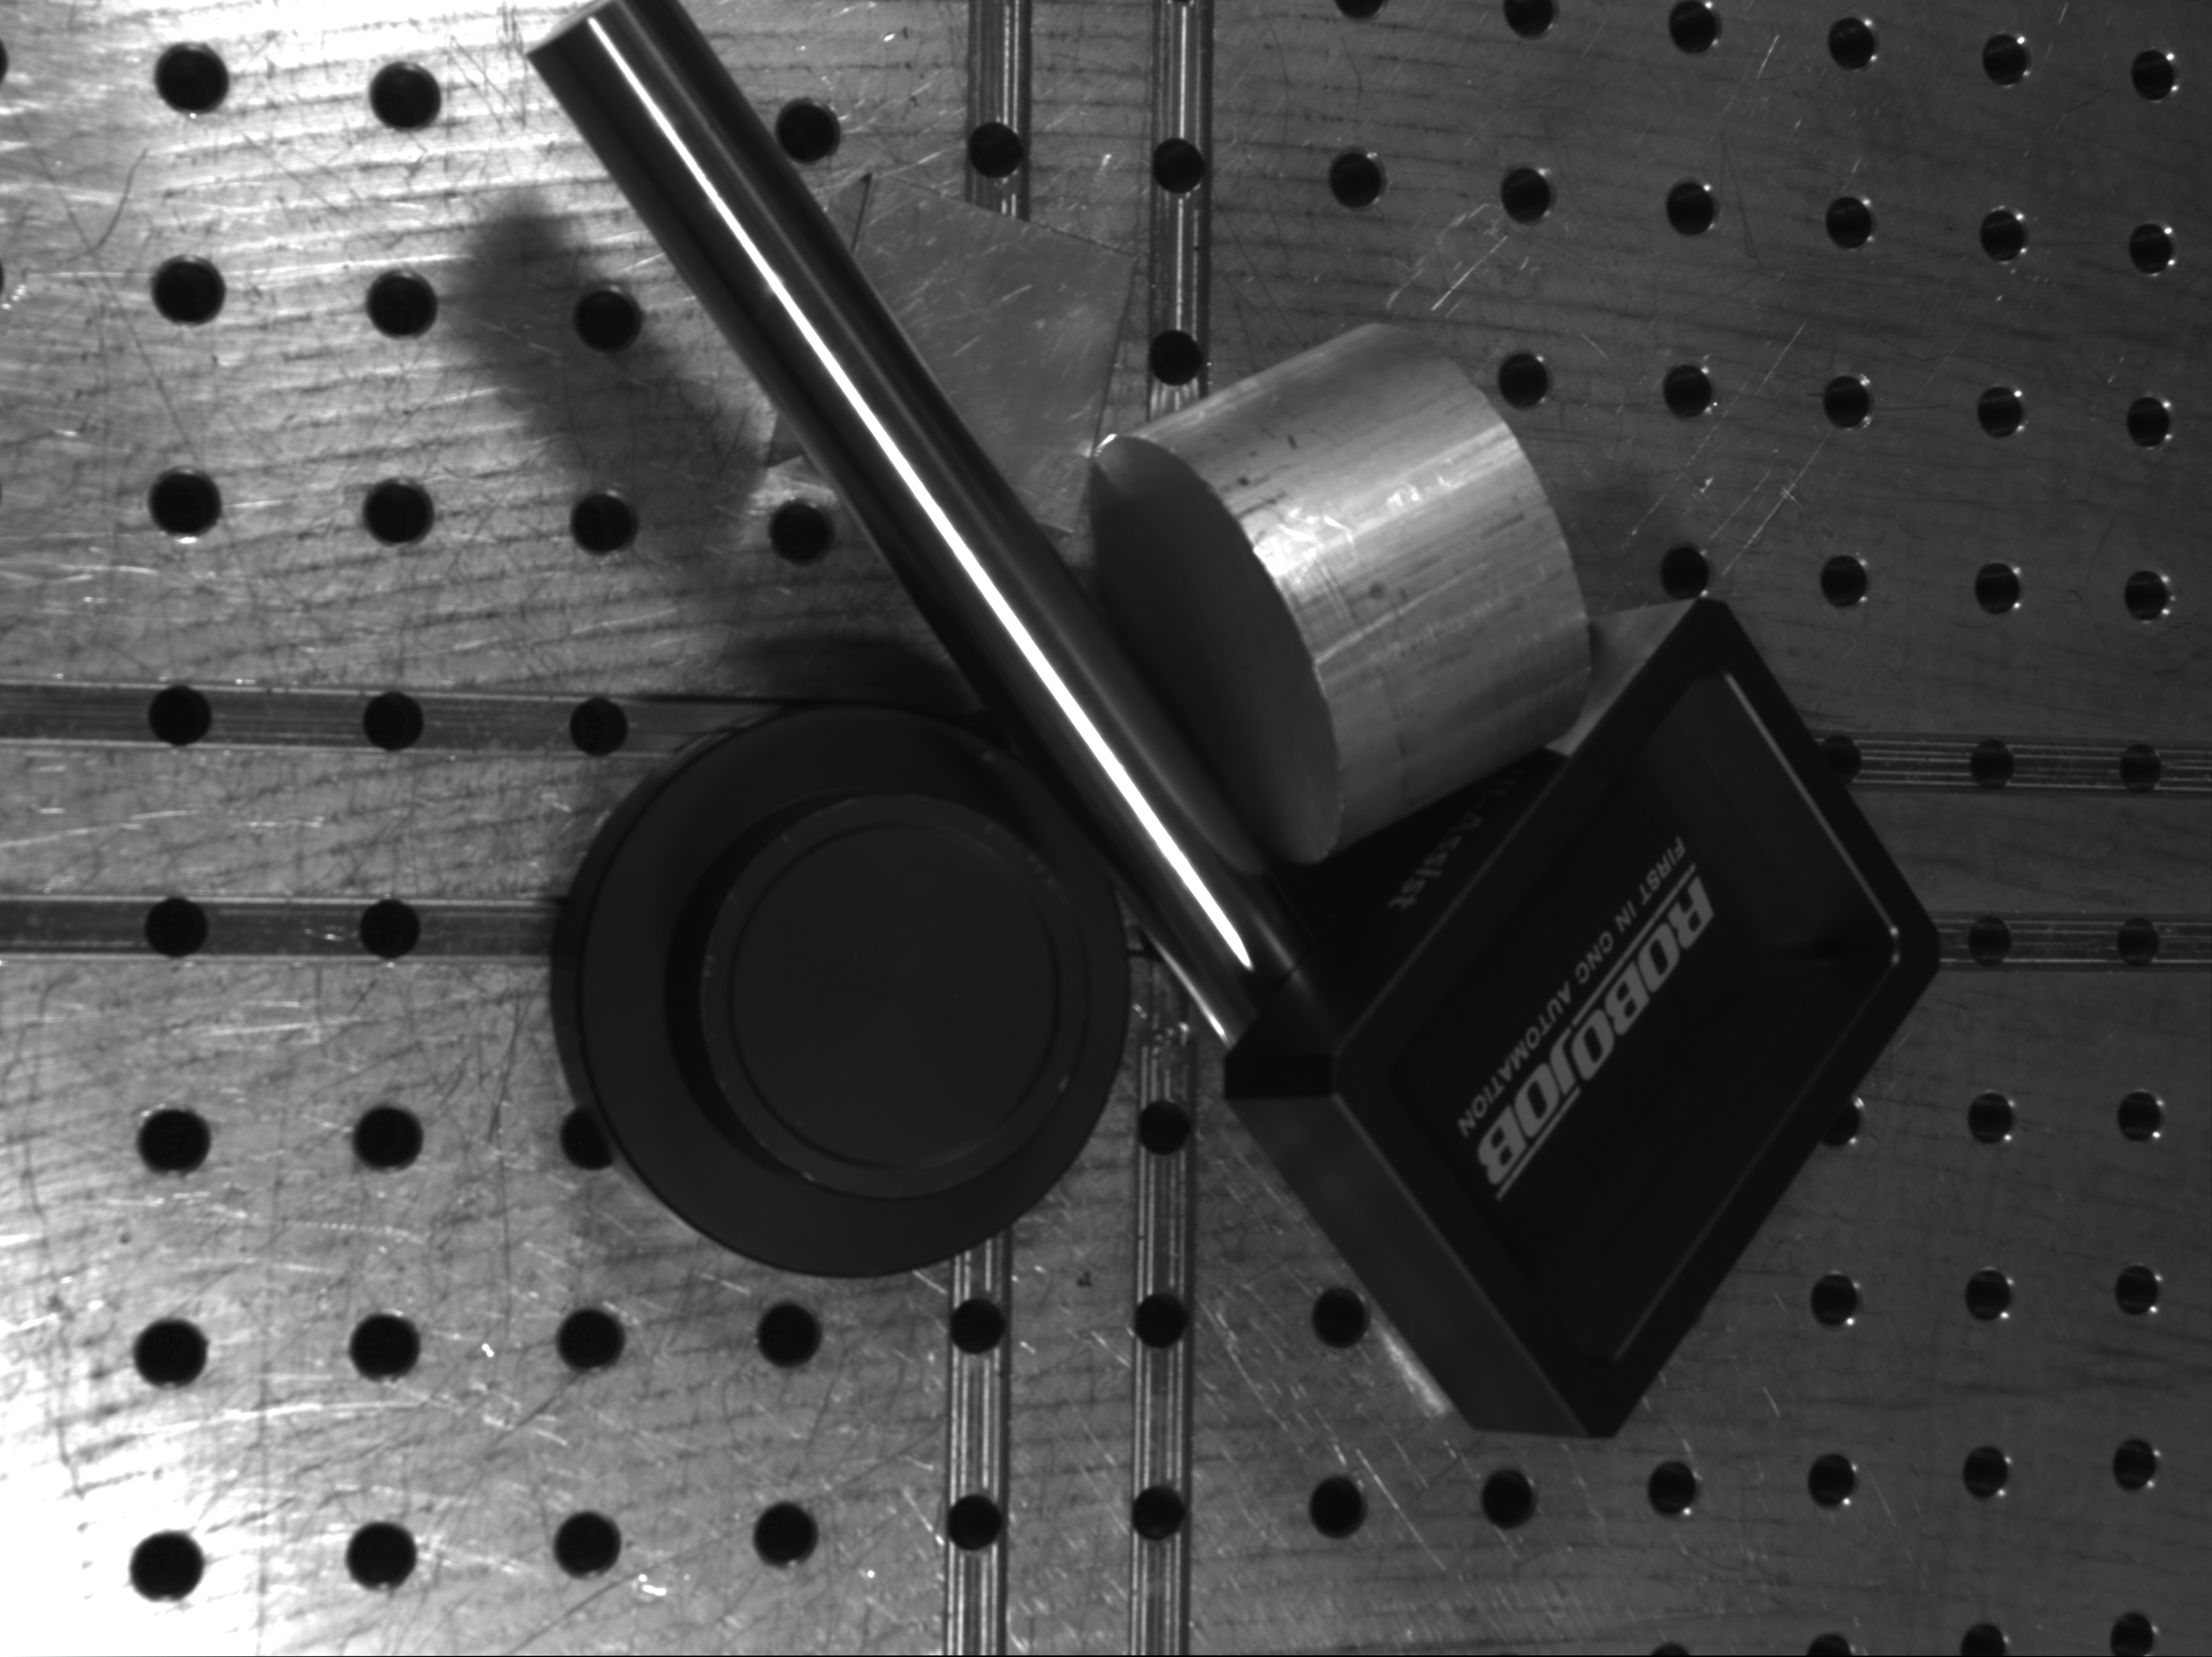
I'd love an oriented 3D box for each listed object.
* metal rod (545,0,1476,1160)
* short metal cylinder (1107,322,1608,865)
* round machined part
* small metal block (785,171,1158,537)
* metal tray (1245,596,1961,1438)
[{"bbox_3d":[0.003,-0.014,0.629,0.025,0.025,0.300,-41,111,-15],"label":"metal rod"},{"bbox_3d":[0.042,-0.040,0.632,0.050,0.080,0.080,-26,99,-18],"label":"short metal cylinder"},{"bbox_3d":[-0.038,0.028,0.622,0.098,0.042,0.098,0,90,-20],"label":"round machined part"},{"bbox_3d":[-0.024,-0.081,0.638,0.050,0.025,0.050,14,85,-19],"label":"small metal block"},{"bbox_3d":[0.092,0.033,0.654,0.130,0.030,0.090,-48,113,-29],"label":"metal tray"}]
